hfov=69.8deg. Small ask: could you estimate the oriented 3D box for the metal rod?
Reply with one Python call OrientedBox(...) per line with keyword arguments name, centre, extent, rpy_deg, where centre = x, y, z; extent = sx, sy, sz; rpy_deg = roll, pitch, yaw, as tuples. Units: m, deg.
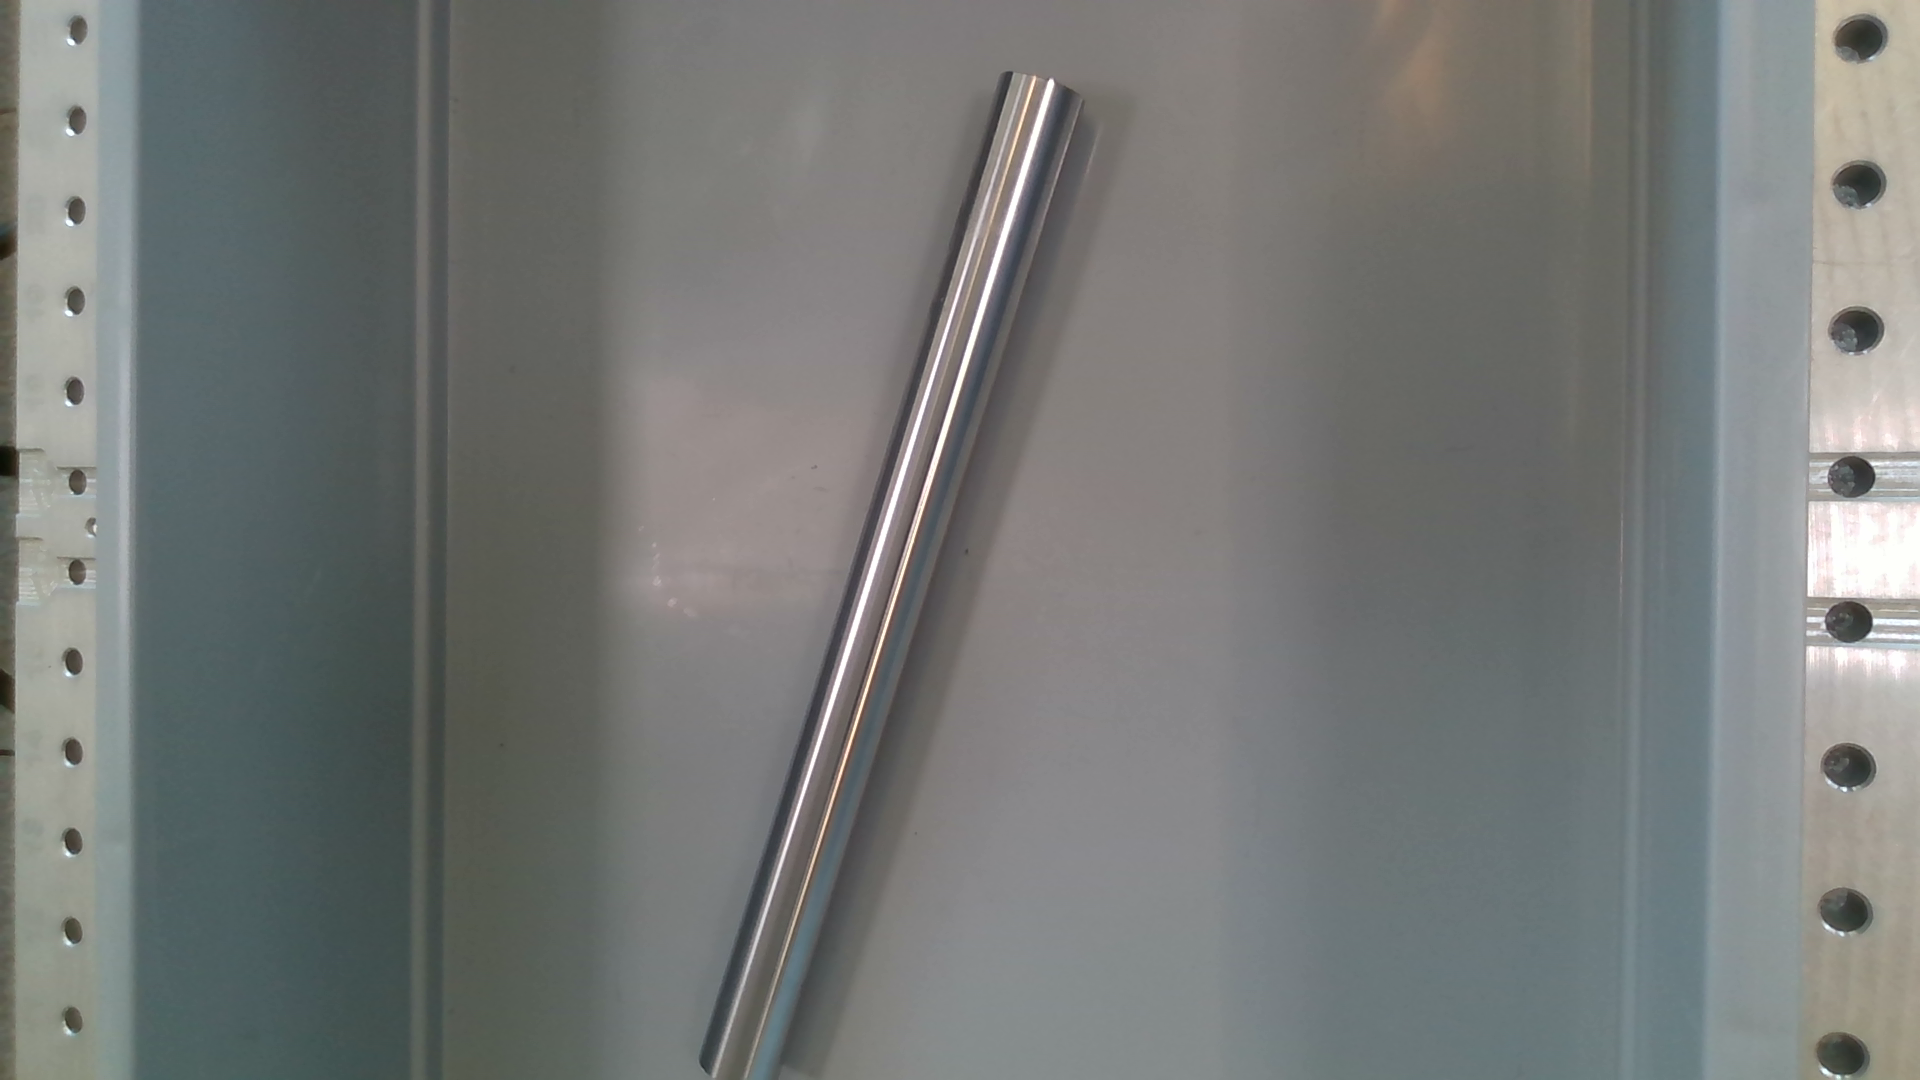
OrientedBox(name="metal rod", centre=(-0.022, 0.016, 0.401), extent=(0.025, 0.025, 0.300), rpy_deg=(20, 97, 19))
